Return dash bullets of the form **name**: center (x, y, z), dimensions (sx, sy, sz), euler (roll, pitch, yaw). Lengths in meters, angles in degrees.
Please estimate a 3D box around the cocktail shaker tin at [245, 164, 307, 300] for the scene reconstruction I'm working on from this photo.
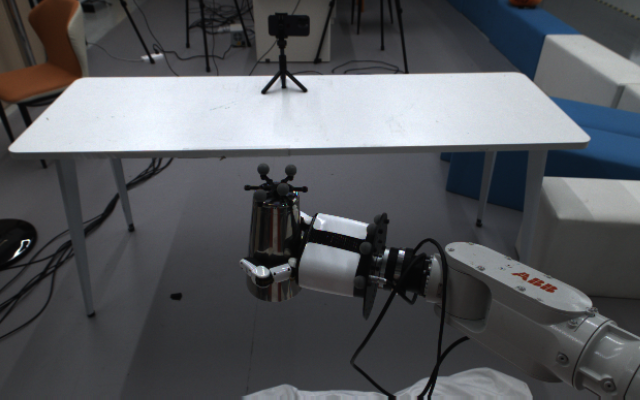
- **cocktail shaker tin**: center (-0.066, 0.059, 0.733), dimensions (0.093, 0.170, 0.093), euler (3, 34, -2)
